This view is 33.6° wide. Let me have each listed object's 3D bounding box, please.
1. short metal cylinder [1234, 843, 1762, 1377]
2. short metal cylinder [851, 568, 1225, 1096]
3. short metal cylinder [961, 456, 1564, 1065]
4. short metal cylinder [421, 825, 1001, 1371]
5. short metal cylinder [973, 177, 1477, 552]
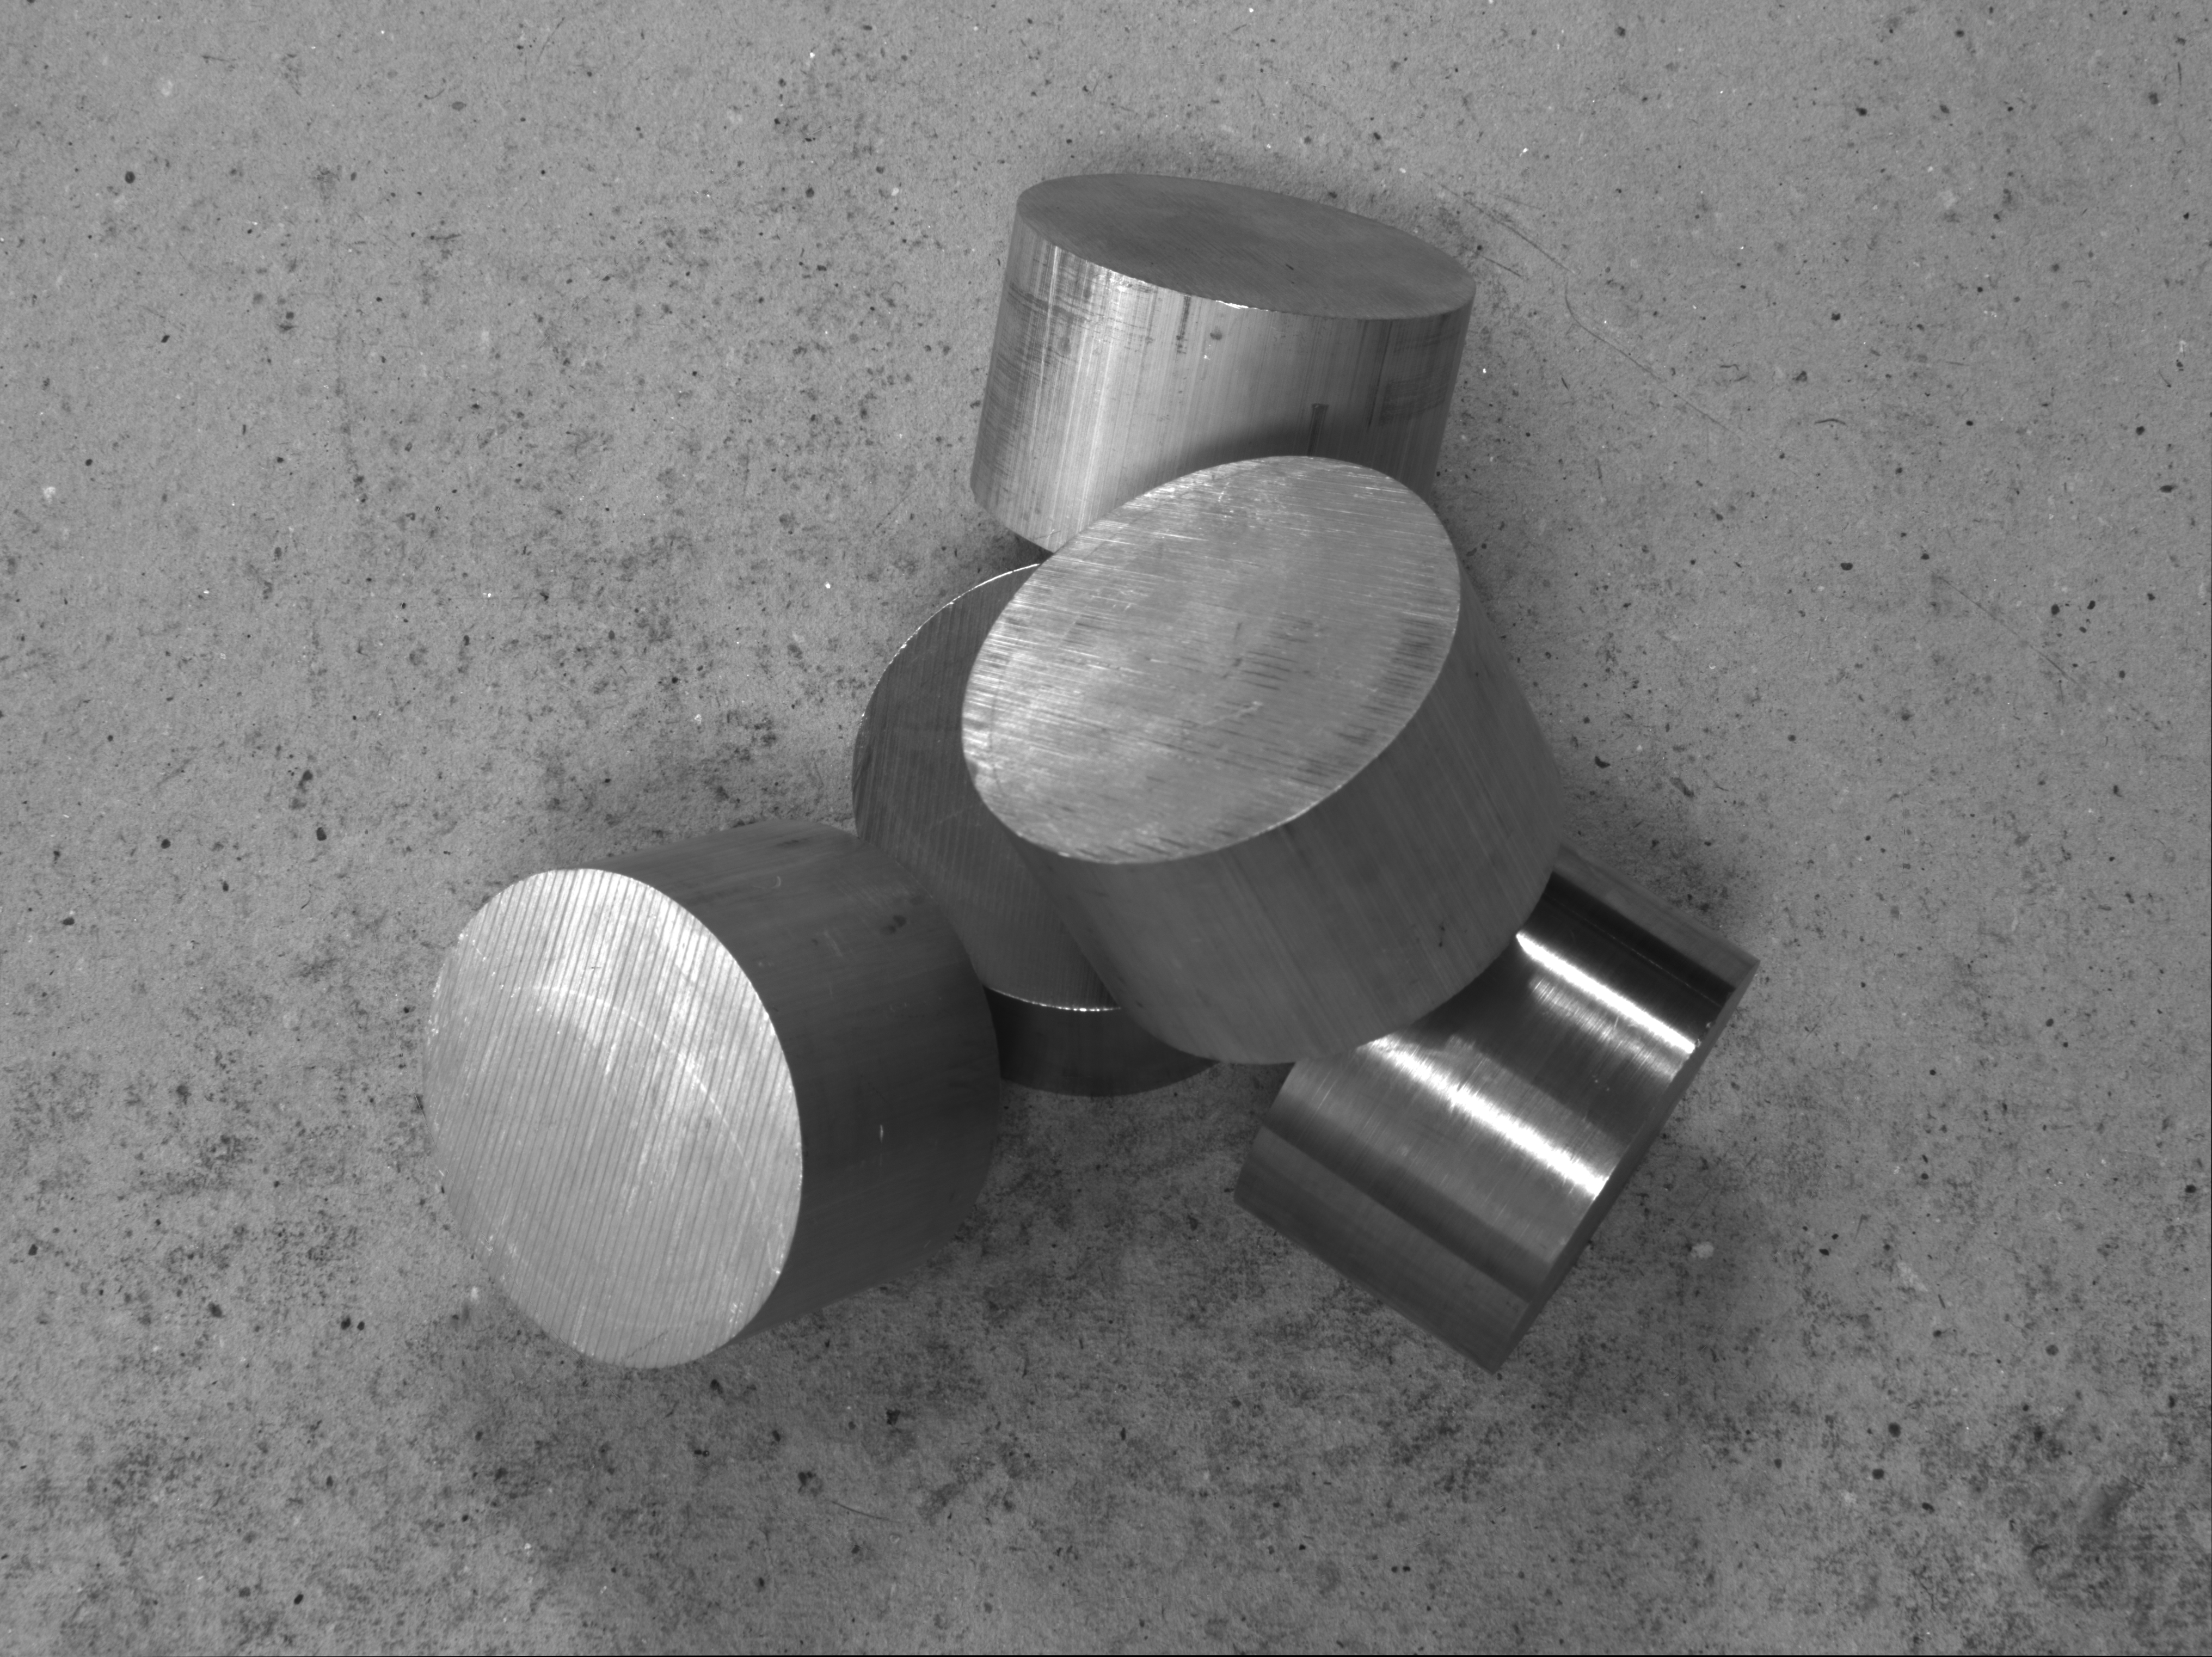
[{"bbox_3d":[0.064,0.042,0.600,0.050,0.080,0.080,33,73,11],"label":"short metal cylinder"},{"bbox_3d":[-0.002,0.000,0.631,0.080,0.050,0.080,0,69,0],"label":"short metal cylinder"},{"bbox_3d":[0.025,-0.011,0.564,0.080,0.050,0.080,-16,46,17],"label":"short metal cylinder"},{"bbox_3d":[-0.064,0.042,0.594,0.080,0.050,0.080,7,102,34],"label":"short metal cylinder"},{"bbox_3d":[0.020,-0.077,0.638,0.080,0.080,0.050,13,114,5],"label":"short metal cylinder"}]
